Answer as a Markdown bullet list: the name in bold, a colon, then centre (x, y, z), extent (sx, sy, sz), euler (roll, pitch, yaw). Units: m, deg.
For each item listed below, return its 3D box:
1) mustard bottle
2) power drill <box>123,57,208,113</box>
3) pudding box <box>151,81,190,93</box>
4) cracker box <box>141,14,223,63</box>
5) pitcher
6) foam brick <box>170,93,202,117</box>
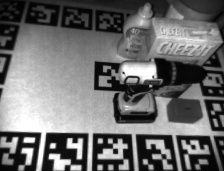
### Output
- **mustard bottle**: centre (0.081, -0.176, 0.617), extent (0.096, 0.191, 0.058), euler (13, 63, -2)
- **power drill**: centre (0.107, 0.003, 0.506), extent (0.185, 0.187, 0.057), euler (1, 59, -10)
- **pudding box**: centre (0.157, -0.018, 0.605), extent (0.114, 0.090, 0.038), euler (1, 61, -6)
- **cracker box**: centre (0.170, -0.086, 0.581), extent (0.165, 0.214, 0.071), euler (-1, 61, -8)
- **pitcher**: centre (0.214, -0.177, 0.630), extent (0.189, 0.243, 0.133), euler (7, 62, -4)
- **foam brick**: centre (0.211, 0.056, 0.615), extent (0.078, 0.051, 0.052), euler (4, 64, -8)
